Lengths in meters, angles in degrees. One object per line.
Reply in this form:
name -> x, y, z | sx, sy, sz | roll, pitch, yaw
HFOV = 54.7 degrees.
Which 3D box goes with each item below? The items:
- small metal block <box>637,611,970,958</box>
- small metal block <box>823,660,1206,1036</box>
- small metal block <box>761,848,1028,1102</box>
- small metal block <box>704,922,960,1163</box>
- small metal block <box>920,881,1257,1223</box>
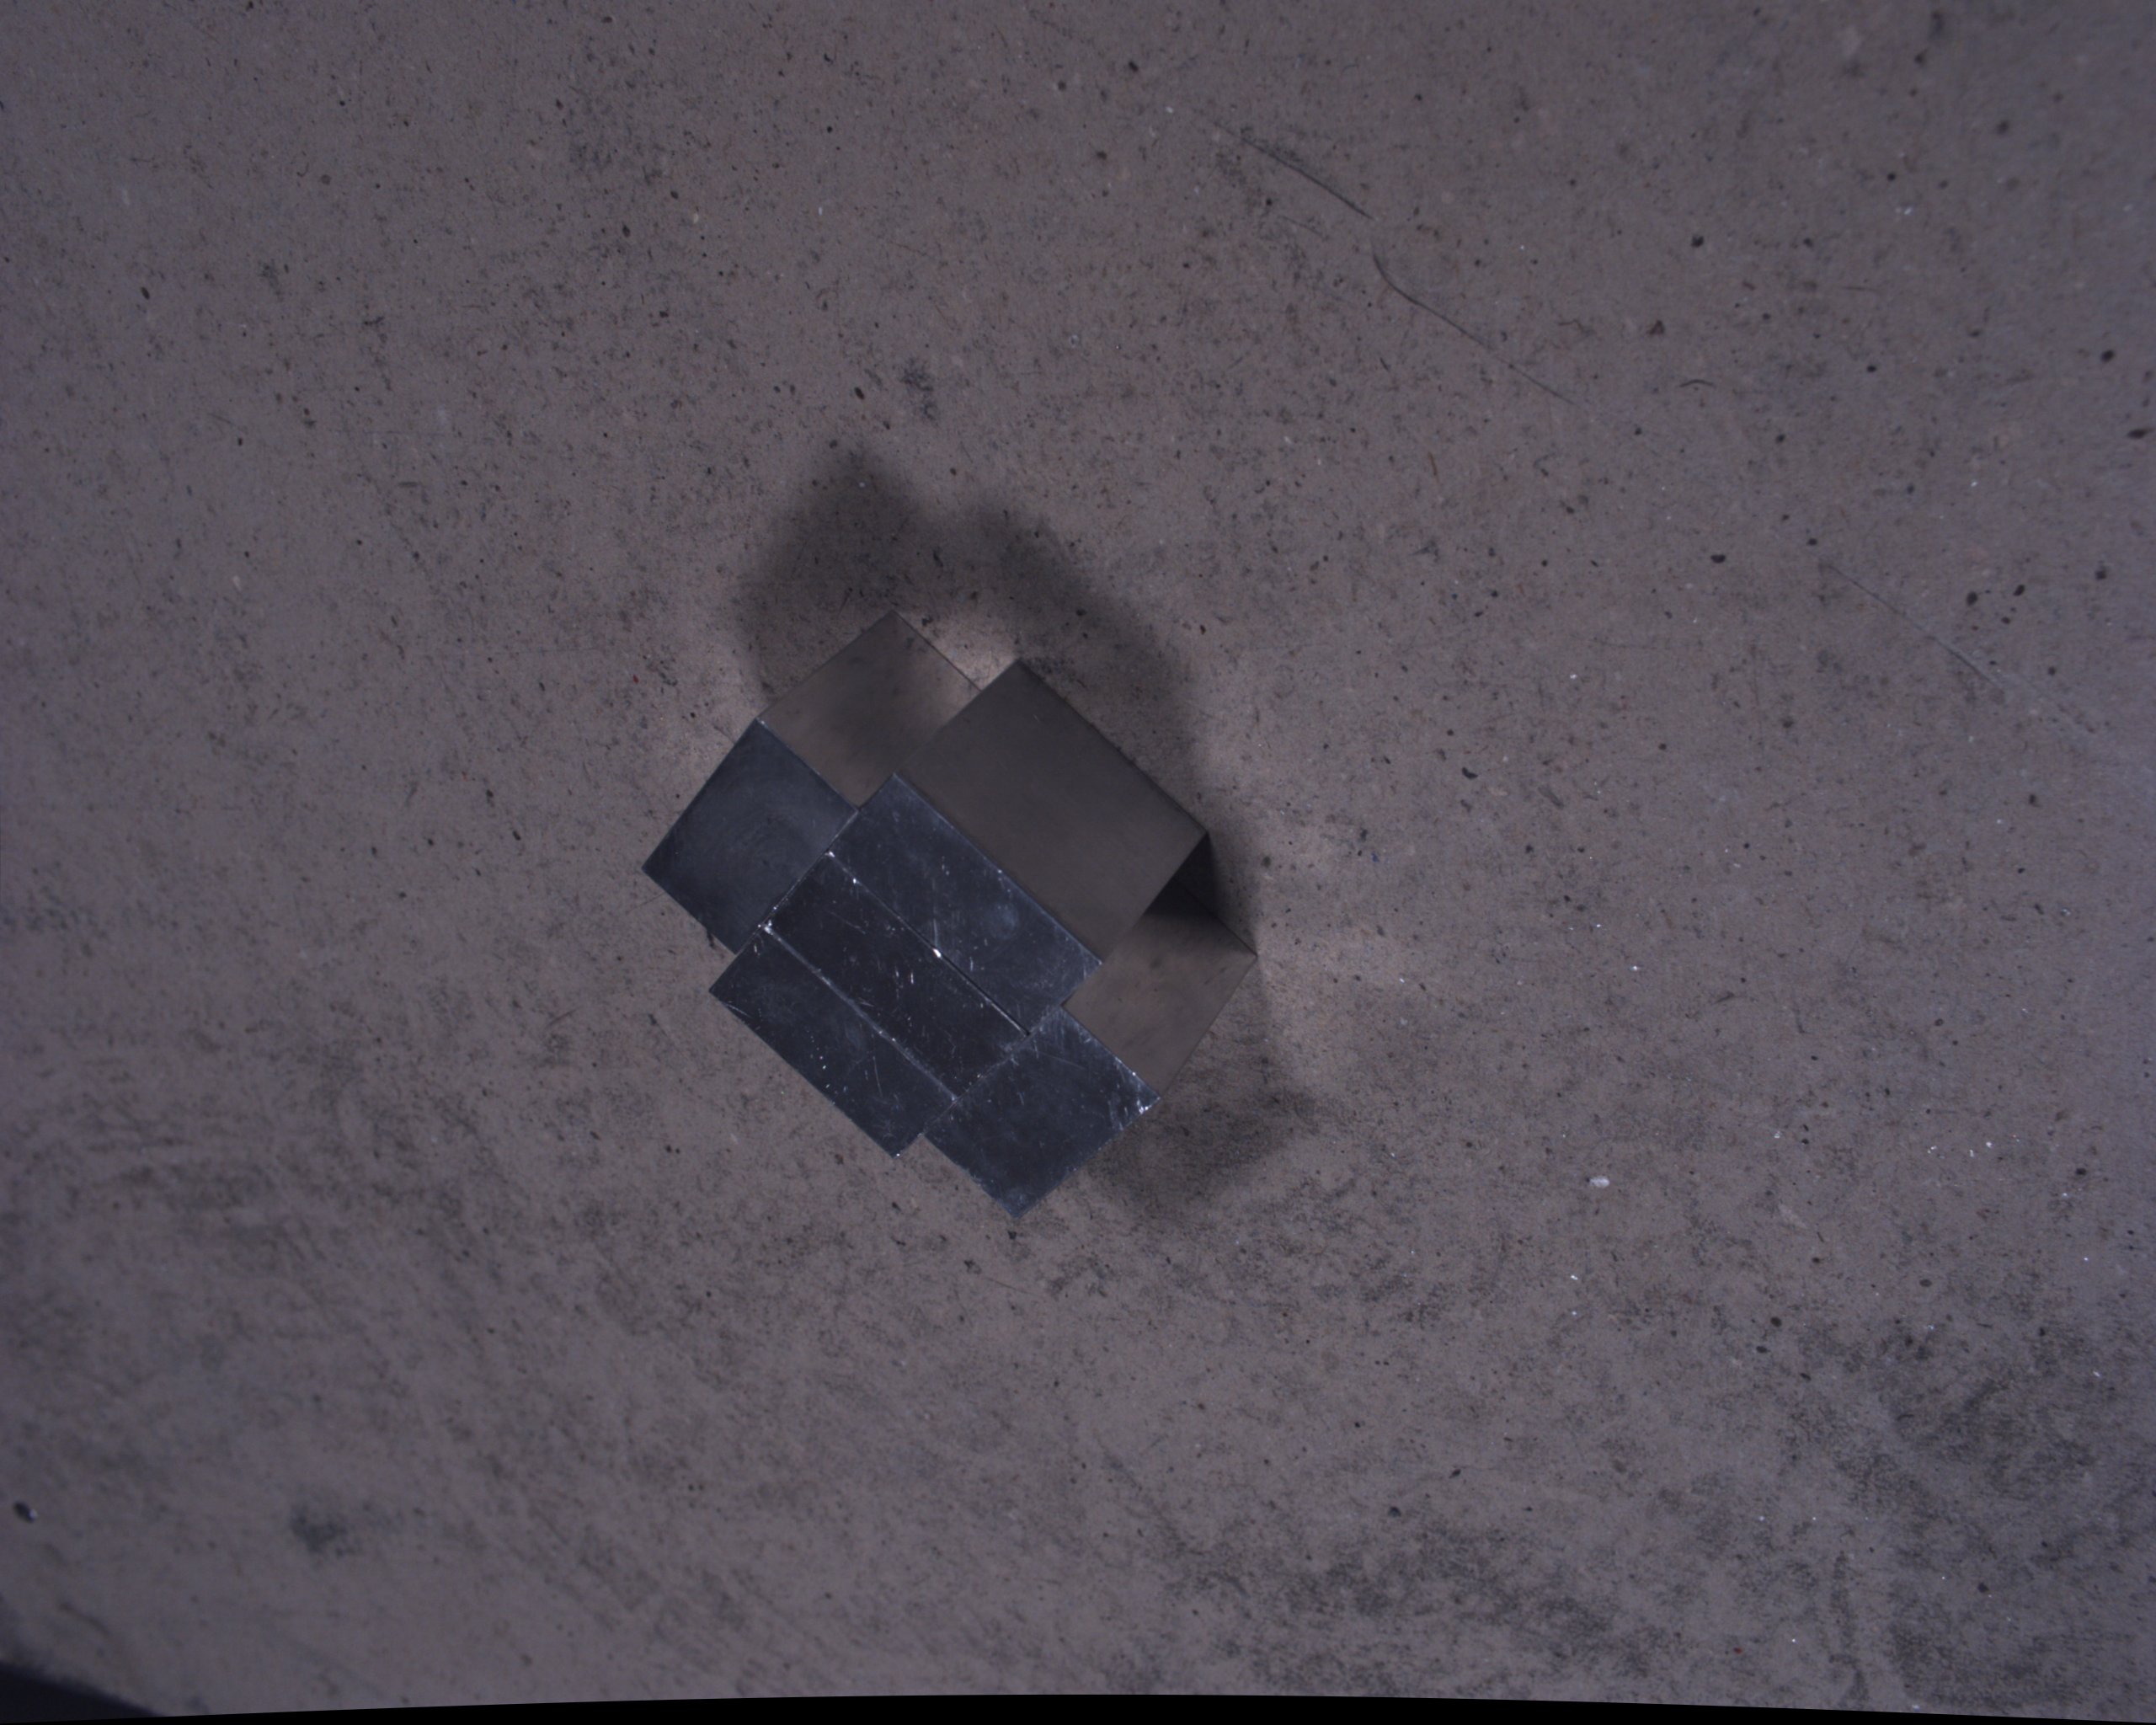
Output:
small metal block -> -0.052, -0.016, 0.408 | 0.025, 0.050, 0.050 | 43, 129, -2
small metal block -> -0.011, -0.004, 0.393 | 0.050, 0.050, 0.025 | 42, 129, -1
small metal block -> -0.025, 0.010, 0.409 | 0.050, 0.050, 0.025 | 43, 129, -2
small metal block -> -0.038, 0.024, 0.425 | 0.050, 0.050, 0.025 | 43, 129, -2
small metal block -> 0.002, 0.036, 0.411 | 0.025, 0.050, 0.050 | 43, 129, -2
